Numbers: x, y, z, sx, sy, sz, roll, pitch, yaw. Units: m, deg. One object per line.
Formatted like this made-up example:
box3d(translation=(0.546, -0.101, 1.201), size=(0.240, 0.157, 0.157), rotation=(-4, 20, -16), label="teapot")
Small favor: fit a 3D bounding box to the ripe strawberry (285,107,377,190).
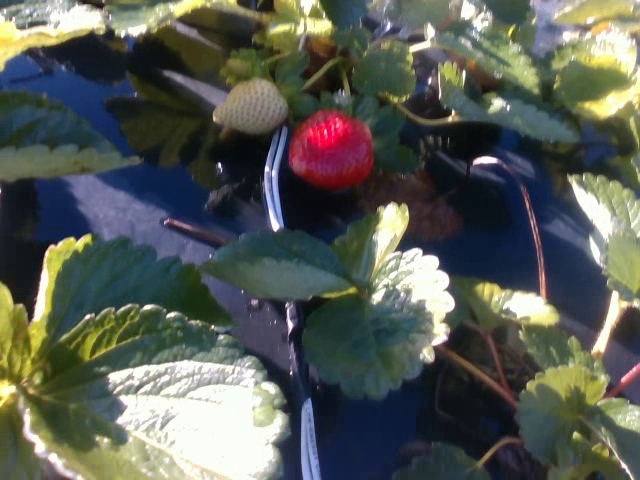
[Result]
box3d(translation=(0.010, -0.053, 0.338), size=(0.040, 0.063, 0.080), rotation=(-27, 4, 36), label="ripe strawberry")
